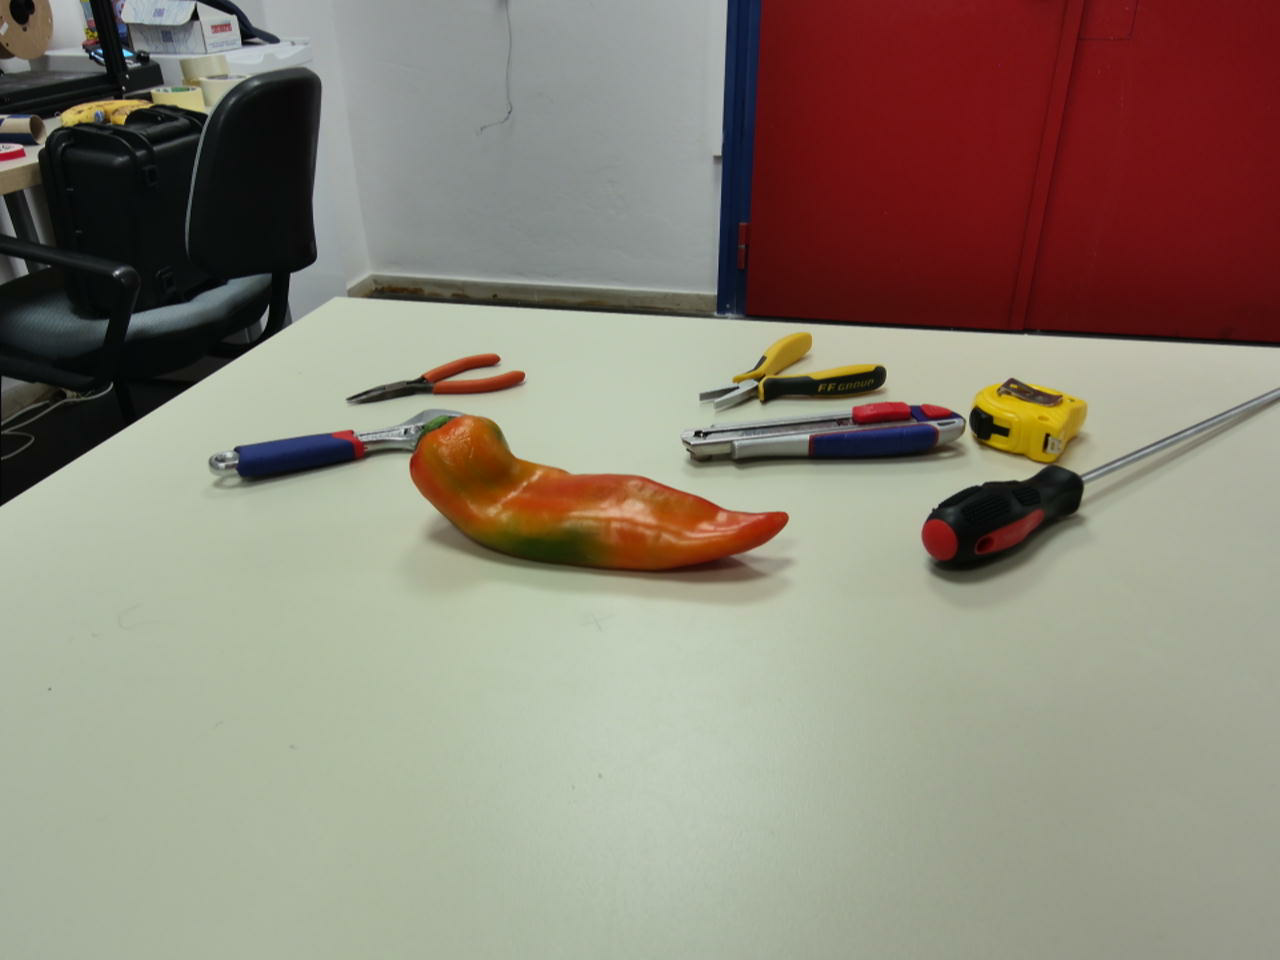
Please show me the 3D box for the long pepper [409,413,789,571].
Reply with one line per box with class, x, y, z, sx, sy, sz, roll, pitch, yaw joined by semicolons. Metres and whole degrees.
long pepper;-0.024;0.005;0.514;0.199;0.065;0.066;7;27;16
